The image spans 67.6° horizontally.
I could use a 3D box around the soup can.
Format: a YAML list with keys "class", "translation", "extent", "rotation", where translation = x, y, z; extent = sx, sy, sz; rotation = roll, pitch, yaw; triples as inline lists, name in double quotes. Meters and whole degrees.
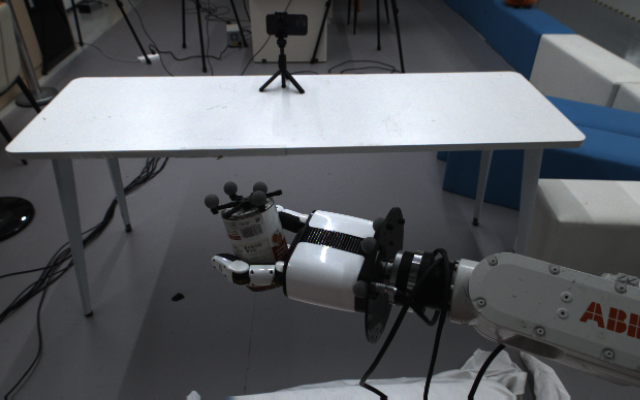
- class: "soup can"
  translation: [-0.074, 0.053, 0.599]
  extent: [0.067, 0.101, 0.067]
  rotation: [-13, 20, 5]
